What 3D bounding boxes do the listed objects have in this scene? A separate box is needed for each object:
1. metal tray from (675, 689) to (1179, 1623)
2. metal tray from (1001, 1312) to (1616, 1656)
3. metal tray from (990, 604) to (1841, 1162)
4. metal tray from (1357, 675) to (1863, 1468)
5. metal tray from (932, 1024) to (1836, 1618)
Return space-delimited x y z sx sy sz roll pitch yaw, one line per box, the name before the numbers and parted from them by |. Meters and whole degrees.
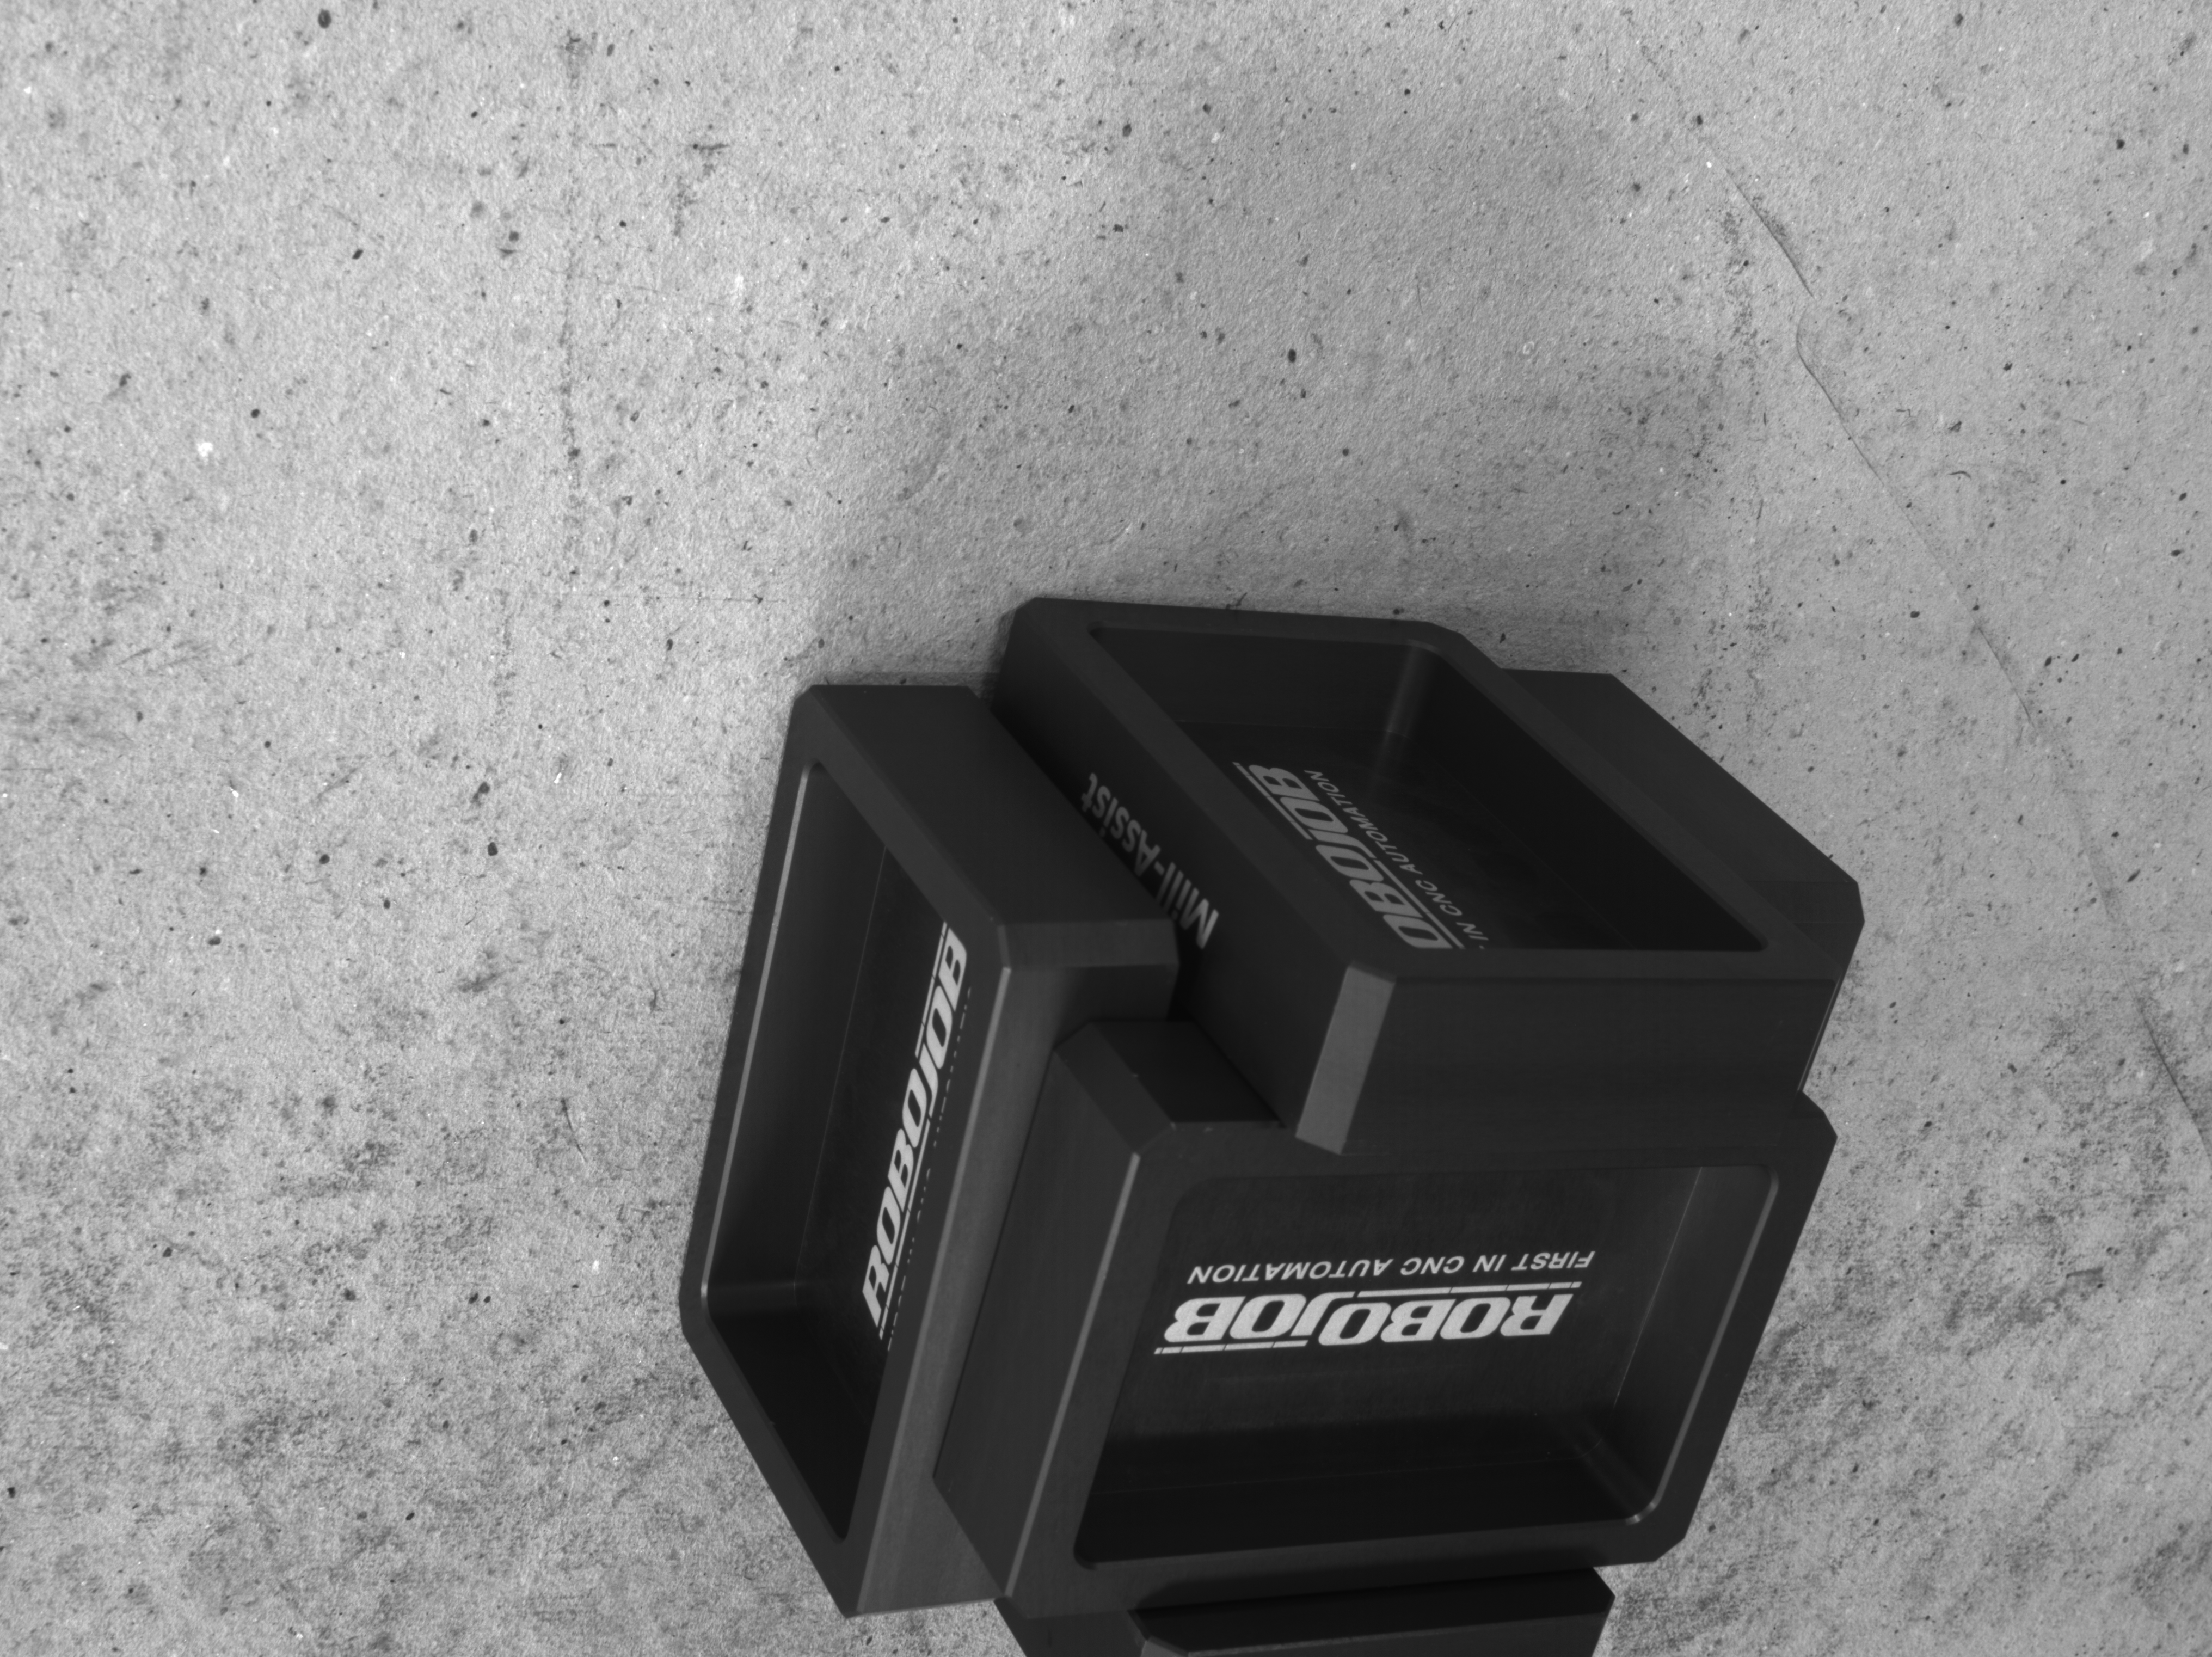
metal tray | -0.033 0.053 0.610 0.030 0.090 0.130 -1 118 -28
metal tray | 0.018 0.112 0.647 0.090 0.130 0.030 1 118 -29
metal tray | 0.046 0.006 0.598 0.090 0.130 0.030 2 117 -29
metal tray | 0.082 0.048 0.668 0.030 0.090 0.130 2 116 -28
metal tray | 0.045 0.077 0.590 0.130 0.030 0.090 2 118 -29
